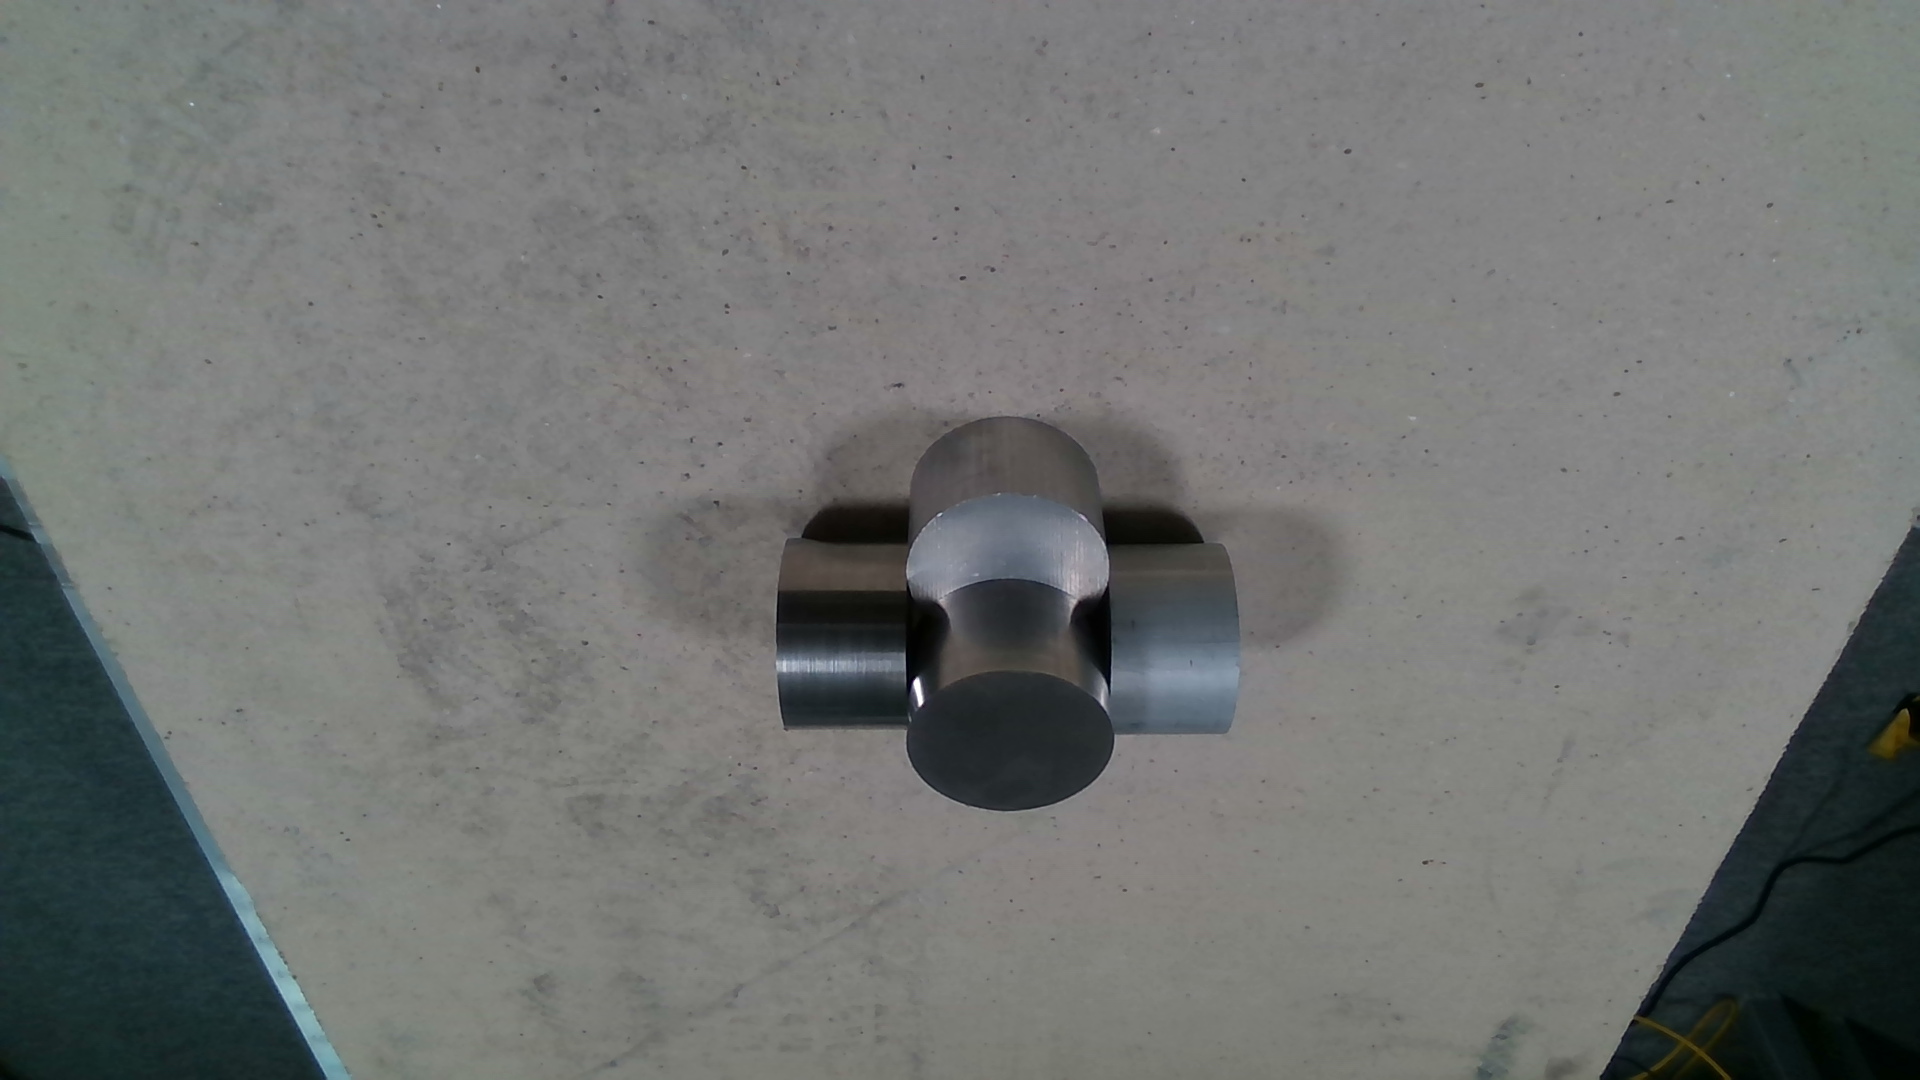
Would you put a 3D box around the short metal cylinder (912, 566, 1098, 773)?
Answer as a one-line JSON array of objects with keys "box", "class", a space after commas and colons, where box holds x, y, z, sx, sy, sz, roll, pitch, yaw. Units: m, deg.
[{"box": [0.019, 0.058, 0.612, 0.080, 0.050, 0.080, 0, 130, 0], "class": "short metal cylinder"}]

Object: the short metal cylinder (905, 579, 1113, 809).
[{"box": [0.019, 0.062, 0.549, 0.080, 0.050, 0.080, 0, 130, 0], "class": "short metal cylinder"}]

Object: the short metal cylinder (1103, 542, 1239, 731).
[{"box": [0.084, 0.041, 0.578, 0.050, 0.080, 0.080, 0, 130, 0], "class": "short metal cylinder"}]

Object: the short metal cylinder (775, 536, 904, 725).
[{"box": [-0.047, 0.038, 0.576, 0.050, 0.080, 0.080, 0, 130, 0], "class": "short metal cylinder"}]

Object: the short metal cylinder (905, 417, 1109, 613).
[{"box": [0.018, -0.003, 0.560, 0.080, 0.050, 0.080, 0, 130, 0], "class": "short metal cylinder"}]
